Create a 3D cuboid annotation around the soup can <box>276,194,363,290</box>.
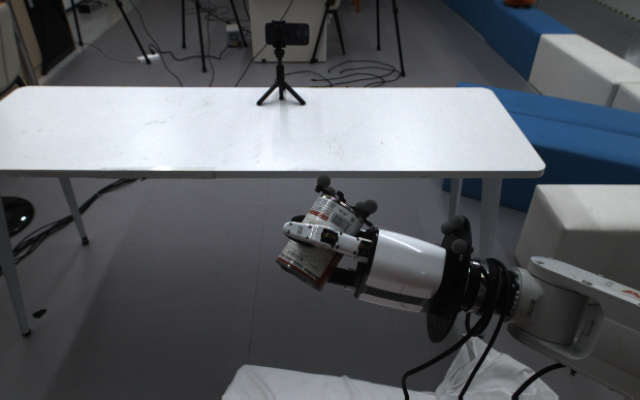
[{"bbox_3d":[0.001,0.051,0.602,0.067,0.067,0.101,26,76,31],"label":"soup can"}]
